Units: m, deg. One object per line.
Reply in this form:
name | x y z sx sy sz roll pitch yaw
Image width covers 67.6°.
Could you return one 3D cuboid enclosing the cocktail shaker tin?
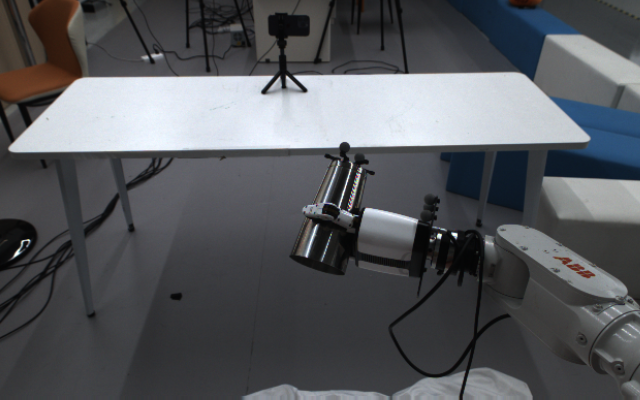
cocktail shaker tin | 0.020 0.026 0.778 0.093 0.093 0.170 14 73 17
